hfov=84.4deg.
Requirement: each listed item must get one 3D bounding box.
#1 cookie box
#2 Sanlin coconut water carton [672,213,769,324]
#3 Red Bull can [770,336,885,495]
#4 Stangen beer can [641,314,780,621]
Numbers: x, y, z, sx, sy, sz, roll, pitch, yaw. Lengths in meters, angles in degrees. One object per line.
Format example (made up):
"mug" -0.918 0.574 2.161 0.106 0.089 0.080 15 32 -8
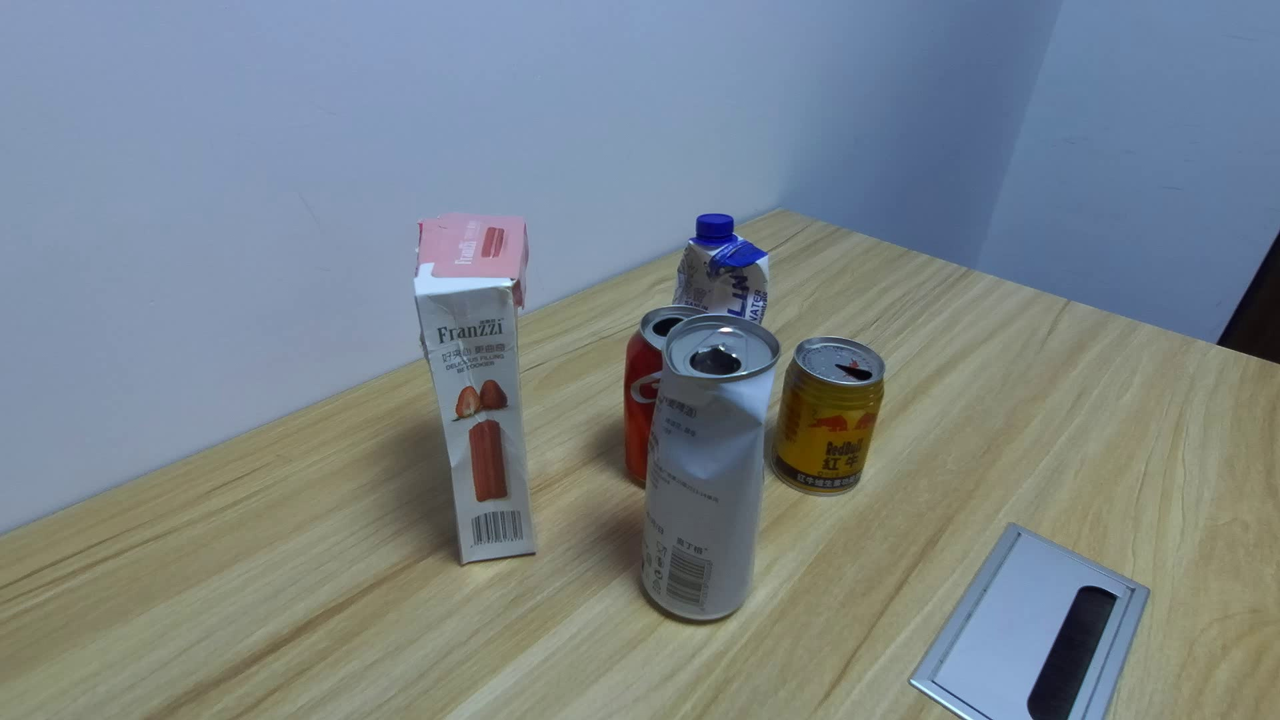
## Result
"cookie box" -0.093 0.020 0.414 0.059 0.186 0.104 -2 31 -11
"Sanlin coconut water carton" 0.061 -0.040 0.558 0.057 0.145 0.068 -25 48 -25
"Red Bull can" 0.129 0.038 0.487 0.067 0.093 0.067 3 31 -2
"Stangen beer can" 0.035 0.062 0.372 0.066 0.166 0.066 10 33 11
